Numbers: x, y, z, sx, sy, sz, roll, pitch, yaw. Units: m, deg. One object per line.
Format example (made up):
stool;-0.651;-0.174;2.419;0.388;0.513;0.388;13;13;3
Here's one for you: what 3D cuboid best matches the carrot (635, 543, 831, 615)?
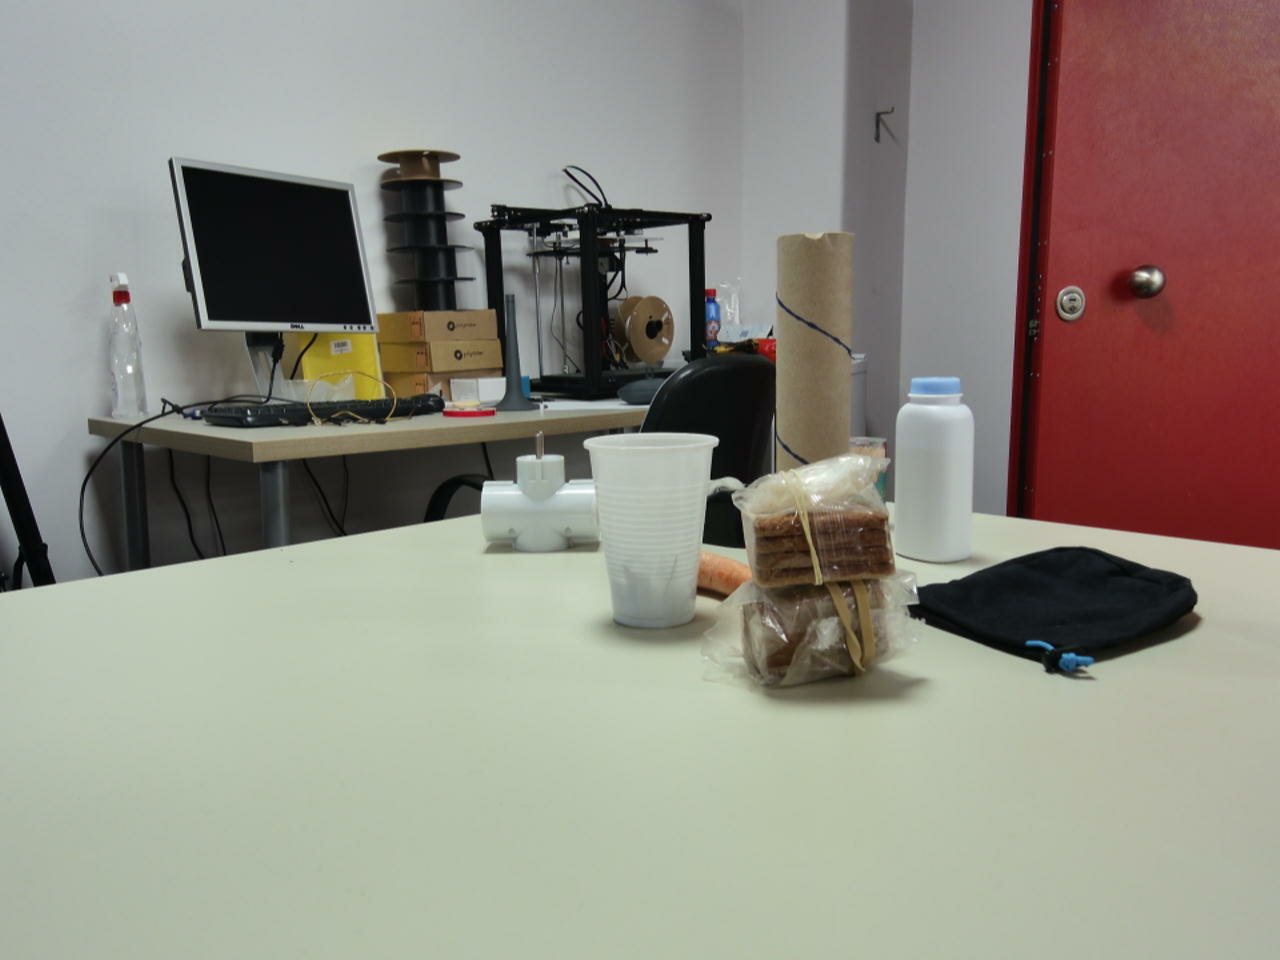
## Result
carrot;0.056;0.062;0.635;0.031;0.029;0.163;-6;9;-43
